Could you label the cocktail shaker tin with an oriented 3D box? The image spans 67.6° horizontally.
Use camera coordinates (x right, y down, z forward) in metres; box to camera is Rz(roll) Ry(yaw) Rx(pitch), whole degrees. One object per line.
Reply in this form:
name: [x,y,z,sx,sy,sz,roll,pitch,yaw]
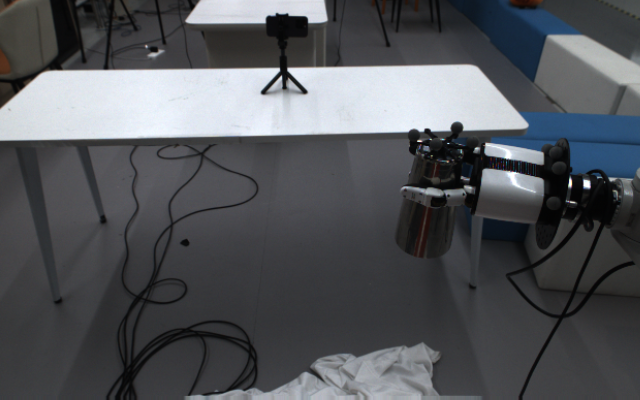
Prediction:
cocktail shaker tin: [0.172,-0.008,0.737,0.093,0.170,0.093,1,39,-1]
